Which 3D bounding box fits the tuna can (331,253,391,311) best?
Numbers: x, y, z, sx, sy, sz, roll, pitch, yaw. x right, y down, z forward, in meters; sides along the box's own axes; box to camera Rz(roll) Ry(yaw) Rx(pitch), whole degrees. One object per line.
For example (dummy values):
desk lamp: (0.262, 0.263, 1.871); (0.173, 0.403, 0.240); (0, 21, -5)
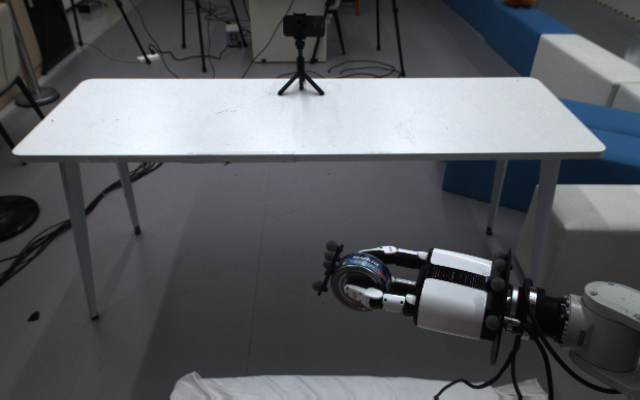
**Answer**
tuna can: (0.063, 0.120, 0.708); (0.085, 0.085, 0.034); (12, 30, 14)
